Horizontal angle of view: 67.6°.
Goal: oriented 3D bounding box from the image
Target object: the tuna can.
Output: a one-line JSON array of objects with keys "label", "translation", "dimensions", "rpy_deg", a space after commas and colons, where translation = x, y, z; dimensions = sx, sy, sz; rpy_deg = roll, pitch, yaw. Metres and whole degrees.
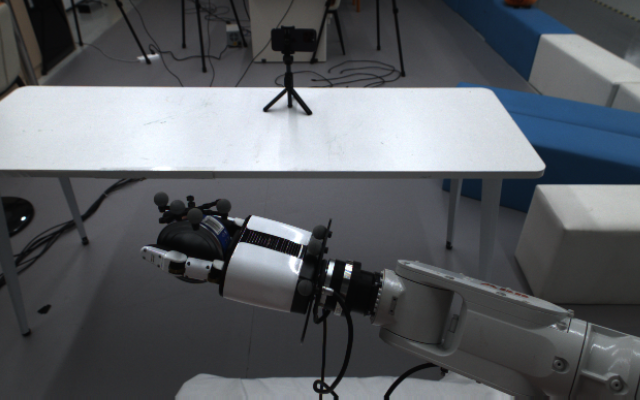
[{"label": "tuna can", "translation": [-0.152, 0.058, 0.595], "dimensions": [0.085, 0.085, 0.034], "rpy_deg": [9, 22, 9]}]
